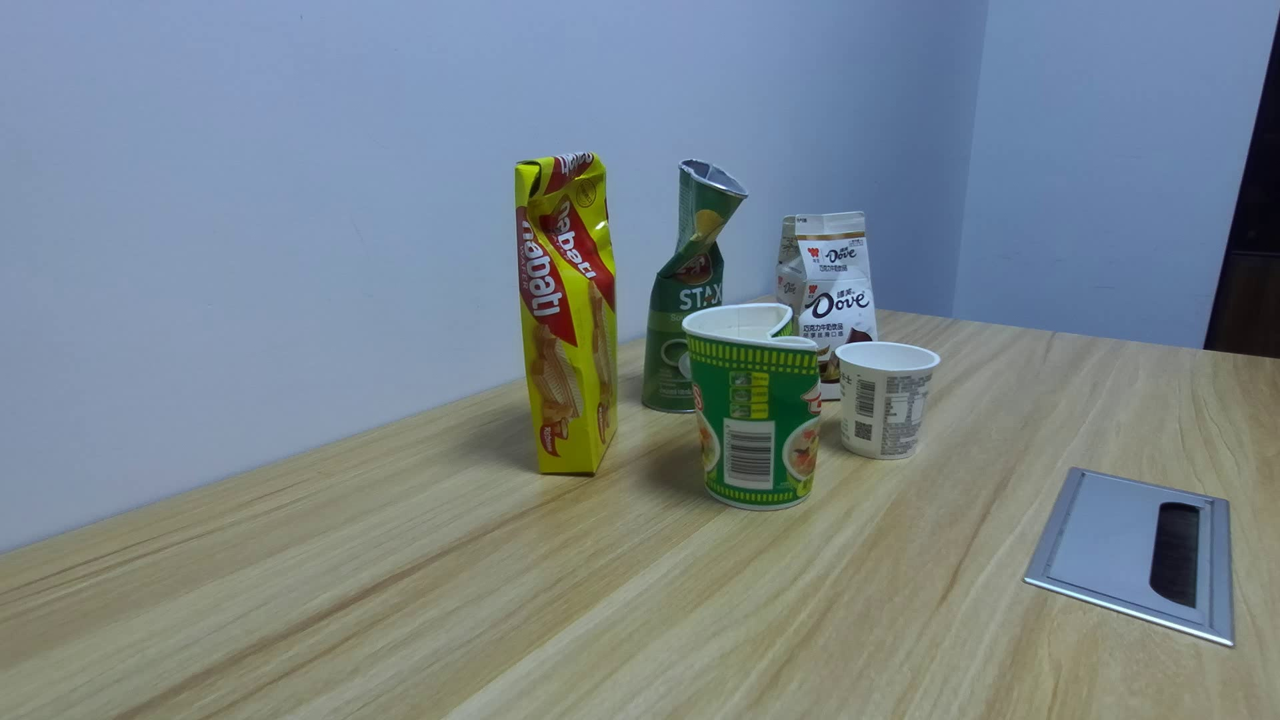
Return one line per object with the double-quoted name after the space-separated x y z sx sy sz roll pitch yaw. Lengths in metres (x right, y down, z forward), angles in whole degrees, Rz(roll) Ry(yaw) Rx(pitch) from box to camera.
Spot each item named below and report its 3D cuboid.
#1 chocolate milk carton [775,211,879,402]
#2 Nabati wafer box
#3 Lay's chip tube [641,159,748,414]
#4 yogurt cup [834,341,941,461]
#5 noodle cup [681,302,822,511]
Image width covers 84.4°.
0.162 -0.049 0.606 0.084 0.155 0.073 -2 18 -6 "chocolate milk carton"
-0.045 -0.033 0.480 0.042 0.205 0.113 0 18 11 "Nabati wafer box"
0.044 -0.058 0.575 0.071 0.199 0.079 13 23 18 "Lay's chip tube"
0.170 0.028 0.497 0.072 0.068 0.072 -1 18 1 "yogurt cup"
0.071 0.027 0.433 0.086 0.109 0.094 6 19 23 "noodle cup"
